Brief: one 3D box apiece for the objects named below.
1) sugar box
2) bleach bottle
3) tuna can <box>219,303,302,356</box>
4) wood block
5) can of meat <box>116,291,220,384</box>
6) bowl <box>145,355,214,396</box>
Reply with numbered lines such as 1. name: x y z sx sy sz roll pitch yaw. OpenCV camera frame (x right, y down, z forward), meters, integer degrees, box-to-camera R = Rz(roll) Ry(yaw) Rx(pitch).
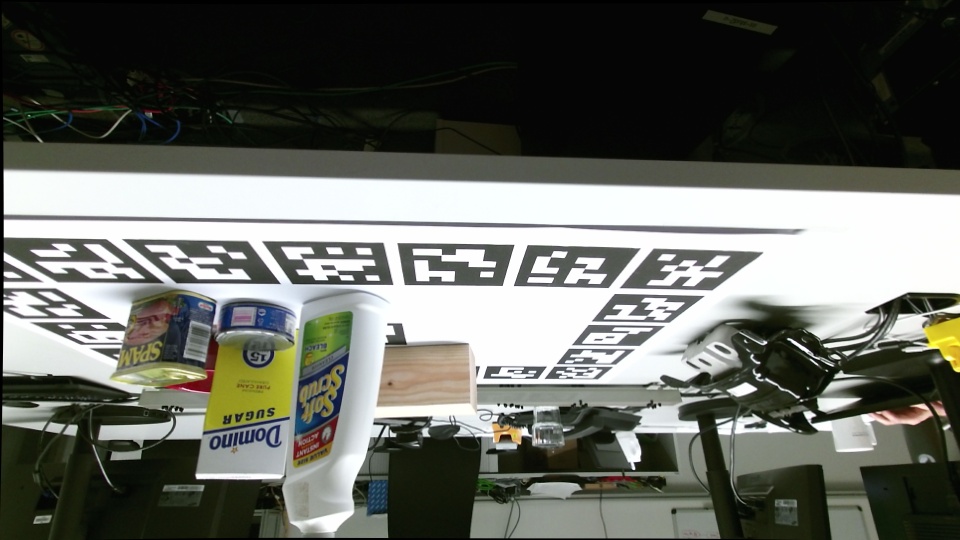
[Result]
1. sugar box: -0.275 0.159 0.641 0.093 0.175 0.045 7 152 -25
2. bleach bottle: -0.145 0.153 0.559 0.103 0.249 0.068 -12 154 19
3. tuna can: -0.250 0.069 0.617 0.086 0.033 0.086 -2 152 -1
4. wood block: -0.106 0.171 0.791 0.207 0.089 0.091 -3 151 5
5. can of meat: -0.333 0.074 0.580 0.102 0.083 0.058 -12 156 24
6. bowl: -0.363 0.137 0.736 0.162 0.055 0.162 -5 156 -2
